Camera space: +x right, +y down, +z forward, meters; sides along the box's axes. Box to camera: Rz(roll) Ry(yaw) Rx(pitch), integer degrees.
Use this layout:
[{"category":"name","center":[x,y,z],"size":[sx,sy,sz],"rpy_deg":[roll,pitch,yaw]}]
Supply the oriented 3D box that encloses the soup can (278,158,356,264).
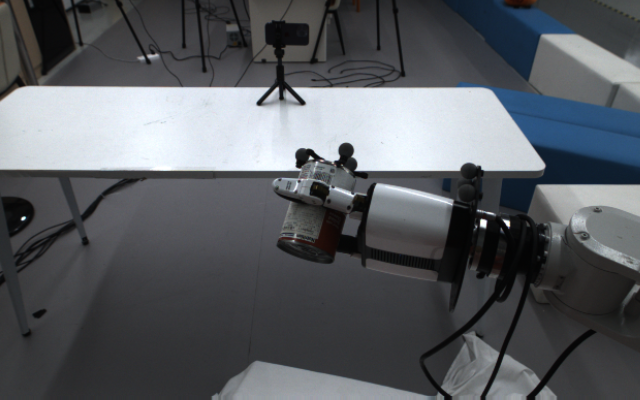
[{"category":"soup can","center":[-0.003,0.011,0.552],"size":[0.067,0.067,0.101],"rpy_deg":[12,70,14]}]
